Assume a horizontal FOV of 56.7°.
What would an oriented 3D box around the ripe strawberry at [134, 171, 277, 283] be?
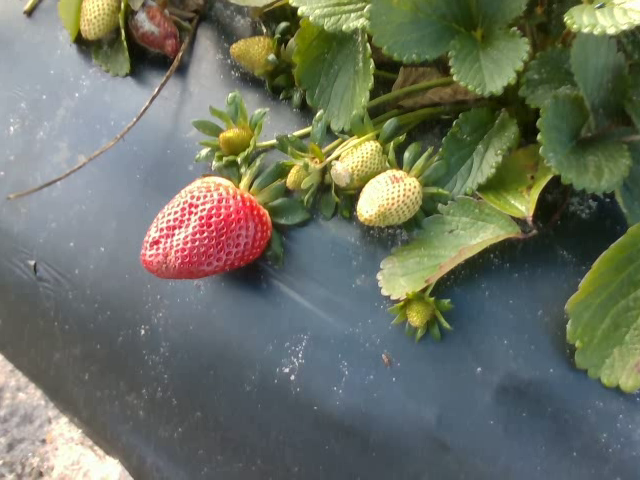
[{"bbox_3d":[-0.059,-0.004,0.290,0.052,0.045,0.068,35,53,12],"label":"ripe strawberry"}]
